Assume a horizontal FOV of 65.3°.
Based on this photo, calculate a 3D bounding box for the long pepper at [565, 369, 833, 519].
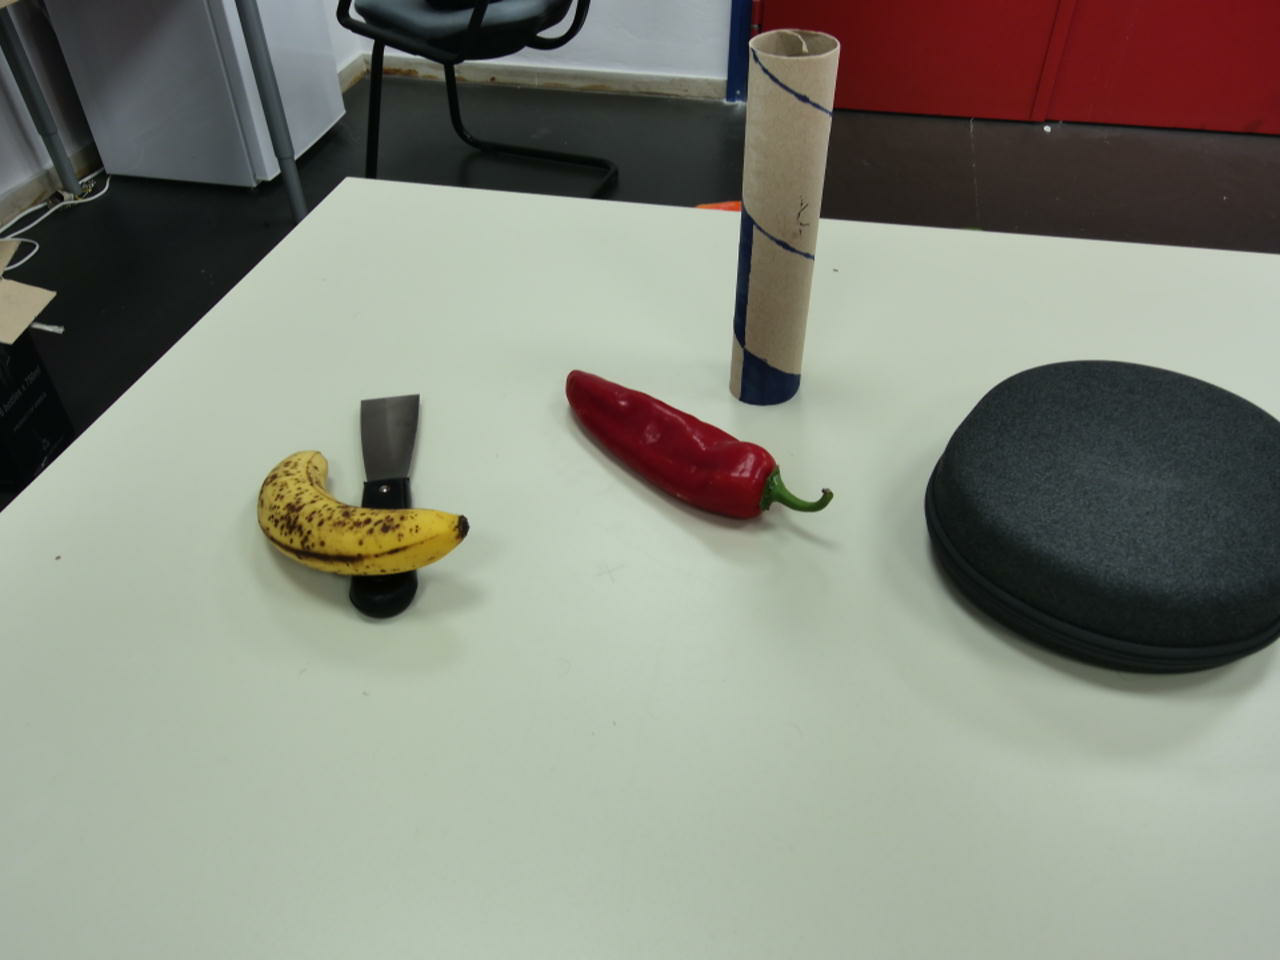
[{"bbox_3d":[0.023,-0.021,0.605,0.211,0.043,0.050,31,49,33],"label":"long pepper"}]
